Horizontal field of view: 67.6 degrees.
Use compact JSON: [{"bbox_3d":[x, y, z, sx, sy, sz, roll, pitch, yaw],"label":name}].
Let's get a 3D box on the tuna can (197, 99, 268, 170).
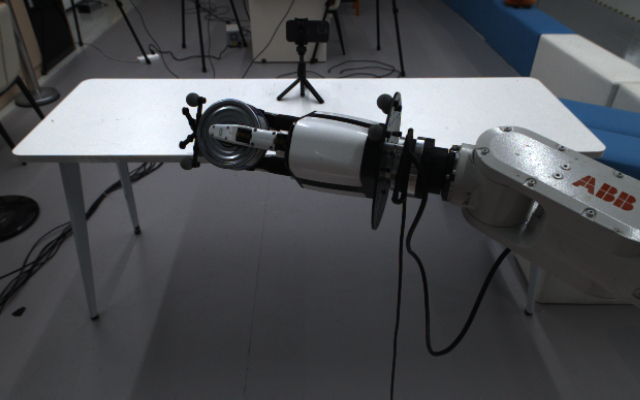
[{"bbox_3d":[-0.105,-0.081,0.598,0.085,0.085,0.034,10,3,11],"label":"tuna can"}]
